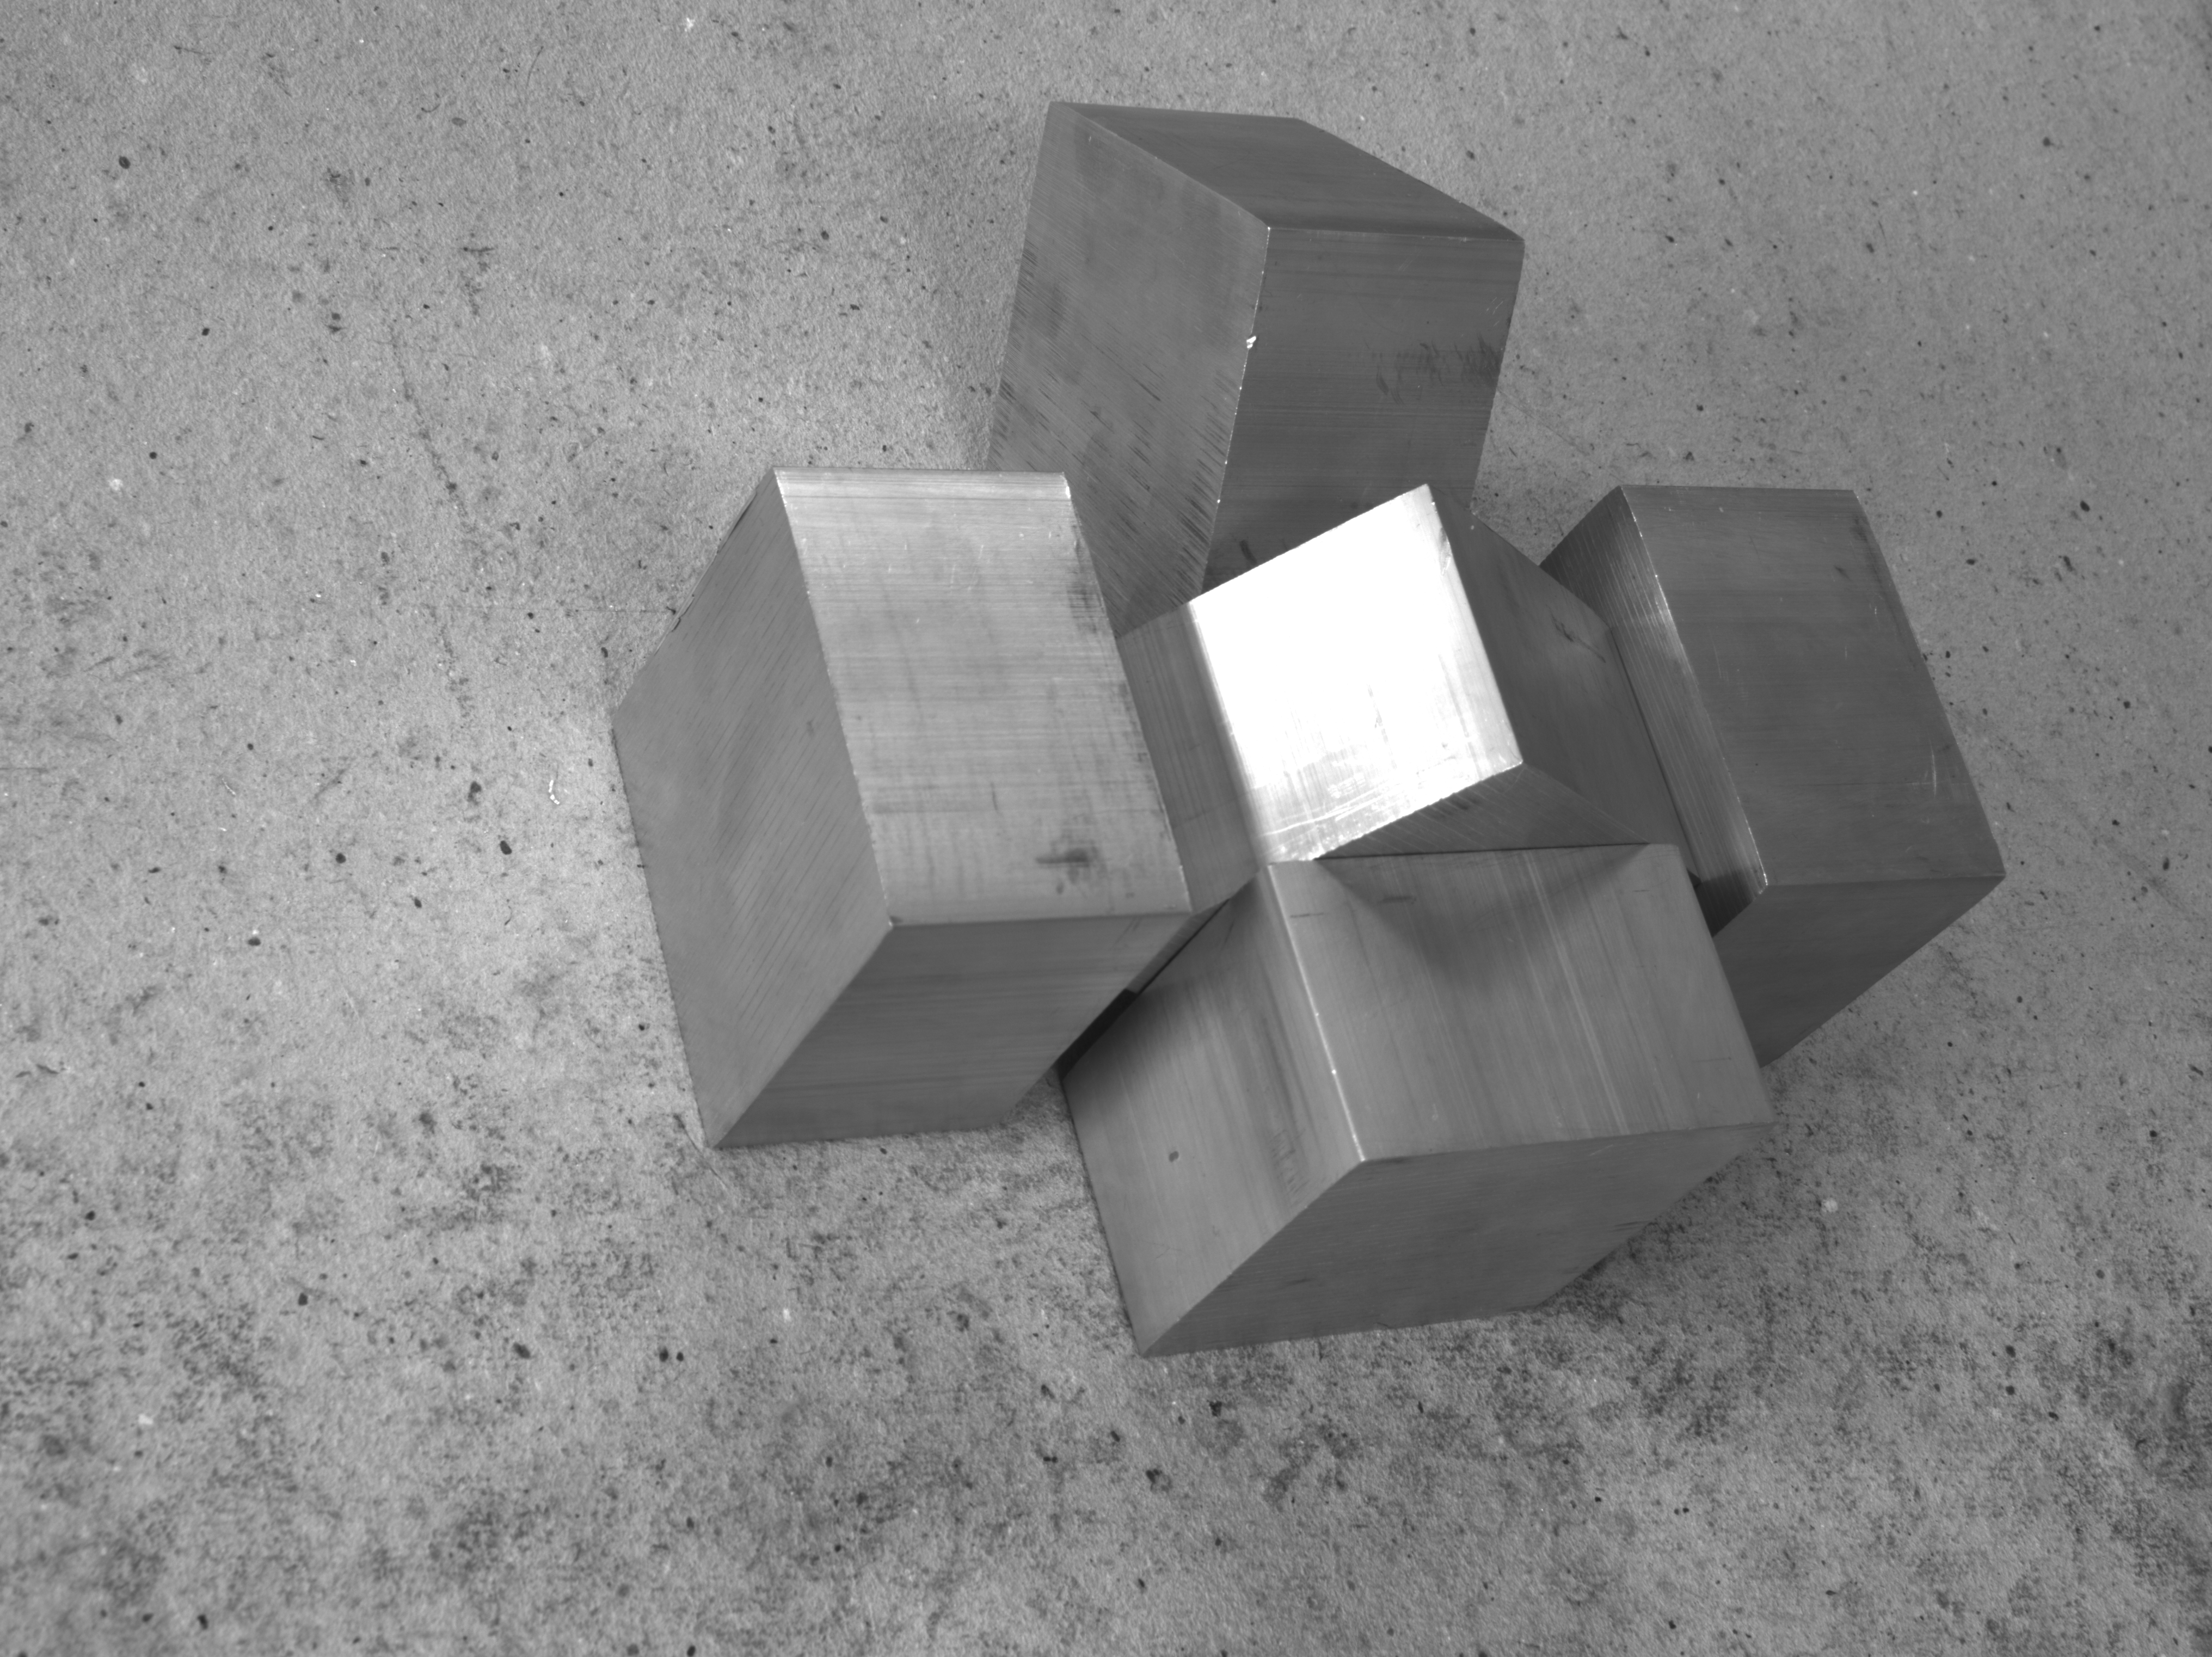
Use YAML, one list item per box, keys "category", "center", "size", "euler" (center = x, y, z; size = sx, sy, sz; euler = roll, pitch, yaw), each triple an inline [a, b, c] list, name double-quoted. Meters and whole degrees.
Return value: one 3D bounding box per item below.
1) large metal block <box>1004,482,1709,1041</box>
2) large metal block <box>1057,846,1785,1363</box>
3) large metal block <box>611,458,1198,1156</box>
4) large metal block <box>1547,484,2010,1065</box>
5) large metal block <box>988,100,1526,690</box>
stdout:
- category: "large metal block"
  center: [0.043, -0.005, 0.612]
  size: [0.080, 0.080, 0.050]
  euler: [28, 40, -57]
- category: "large metal block"
  center: [0.050, 0.045, 0.604]
  size: [0.080, 0.080, 0.050]
  euler: [-3, 63, -29]
- category: "large metal block"
  center: [-0.035, -0.003, 0.587]
  size: [0.050, 0.080, 0.080]
  euler: [-2, 62, -29]
- category: "large metal block"
  center: [0.105, -0.006, 0.664]
  size: [0.050, 0.080, 0.080]
  euler: [-1, 61, -30]
- category: "large metal block"
  center: [0.023, -0.076, 0.645]
  size: [0.050, 0.080, 0.080]
  euler: [-3, 25, -29]
